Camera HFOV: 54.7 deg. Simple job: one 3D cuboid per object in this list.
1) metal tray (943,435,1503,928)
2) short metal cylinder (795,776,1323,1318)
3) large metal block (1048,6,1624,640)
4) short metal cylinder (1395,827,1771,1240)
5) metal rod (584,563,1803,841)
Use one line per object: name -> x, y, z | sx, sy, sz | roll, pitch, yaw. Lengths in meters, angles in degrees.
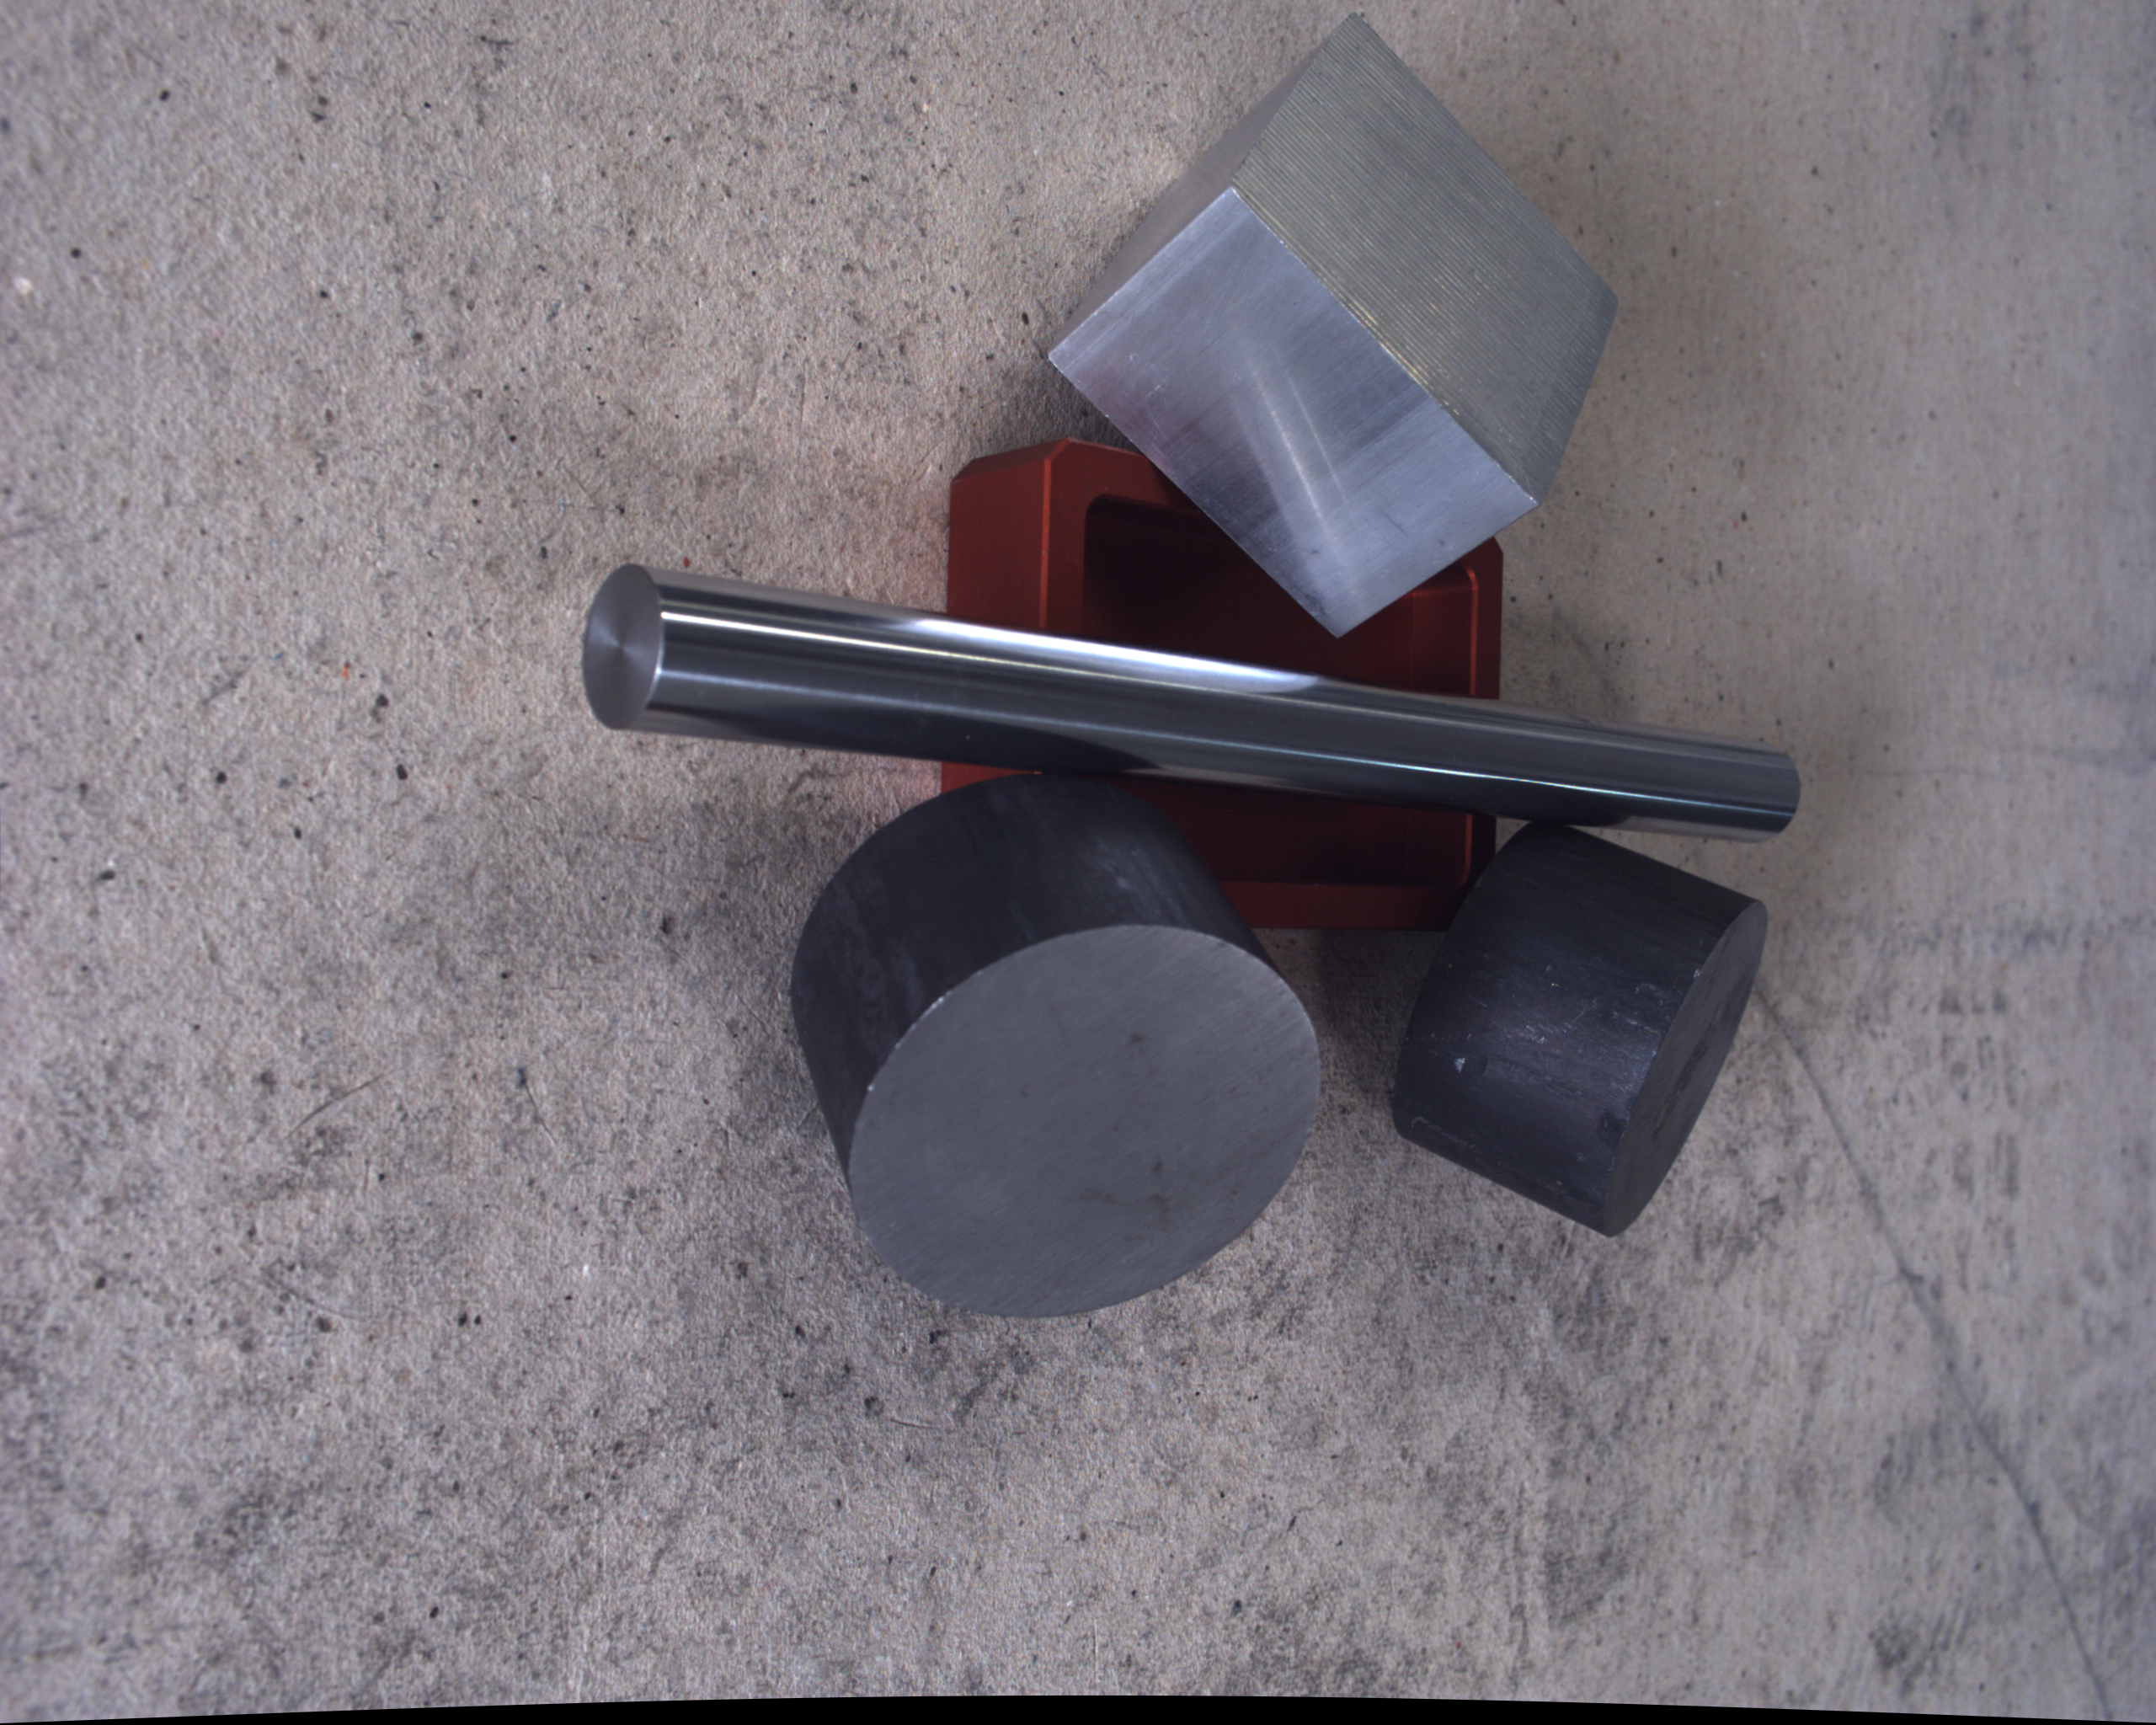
metal tray -> 0.034, -0.032, 0.431 | 0.131, 0.030, 0.089 | 2, 89, -40
short metal cylinder -> -0.005, 0.032, 0.362 | 0.081, 0.050, 0.079 | -9, 123, -15
large metal block -> 0.053, -0.105, 0.406 | 0.080, 0.050, 0.080 | 42, 47, -14
short metal cylinder -> 0.113, 0.036, 0.463 | 0.080, 0.050, 0.079 | -41, 144, -39
metal rod -> 0.048, -0.025, 0.407 | 0.302, 0.025, 0.025 | 4, 88, -40
